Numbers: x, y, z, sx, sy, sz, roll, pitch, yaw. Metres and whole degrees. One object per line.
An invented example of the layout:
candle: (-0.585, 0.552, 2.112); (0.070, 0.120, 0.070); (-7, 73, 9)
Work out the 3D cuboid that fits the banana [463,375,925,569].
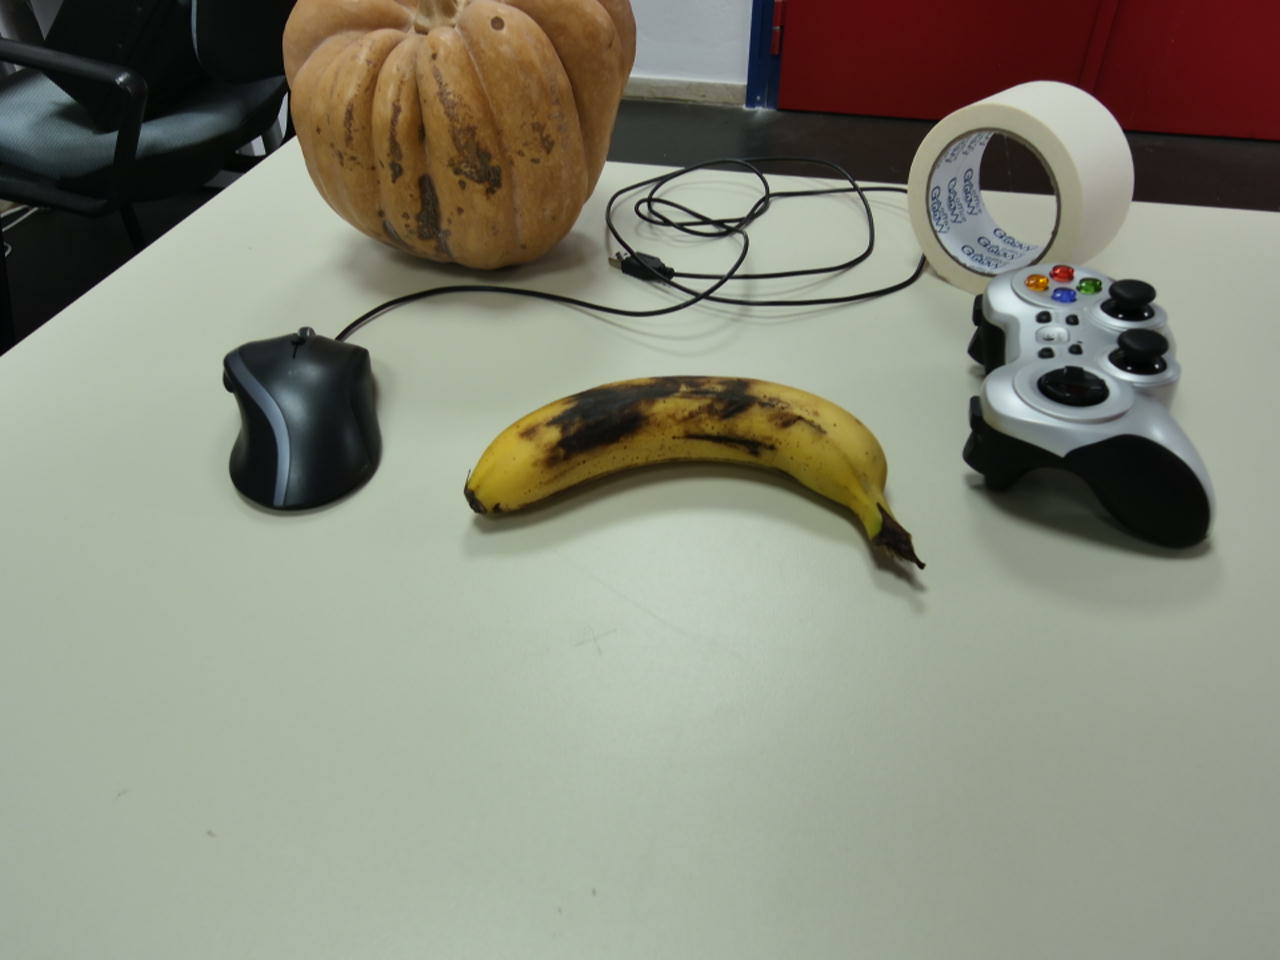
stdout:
banana: (0.025, -0.011, 0.431); (0.187, 0.039, 0.094); (7, 39, 9)
